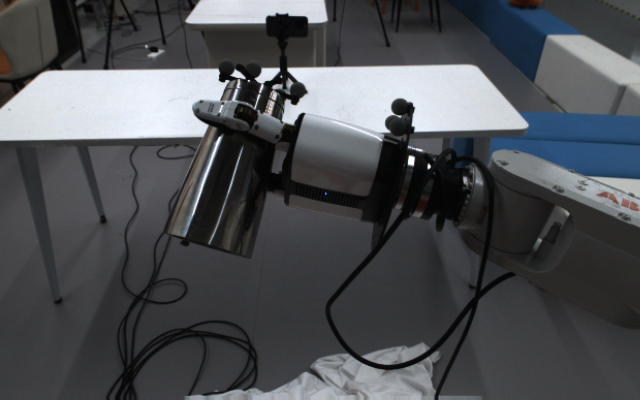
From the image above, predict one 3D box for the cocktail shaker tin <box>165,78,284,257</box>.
[{"bbox_3d":[-0.087,-0.036,0.505,0.093,0.093,0.170,13,79,15],"label":"cocktail shaker tin"}]
